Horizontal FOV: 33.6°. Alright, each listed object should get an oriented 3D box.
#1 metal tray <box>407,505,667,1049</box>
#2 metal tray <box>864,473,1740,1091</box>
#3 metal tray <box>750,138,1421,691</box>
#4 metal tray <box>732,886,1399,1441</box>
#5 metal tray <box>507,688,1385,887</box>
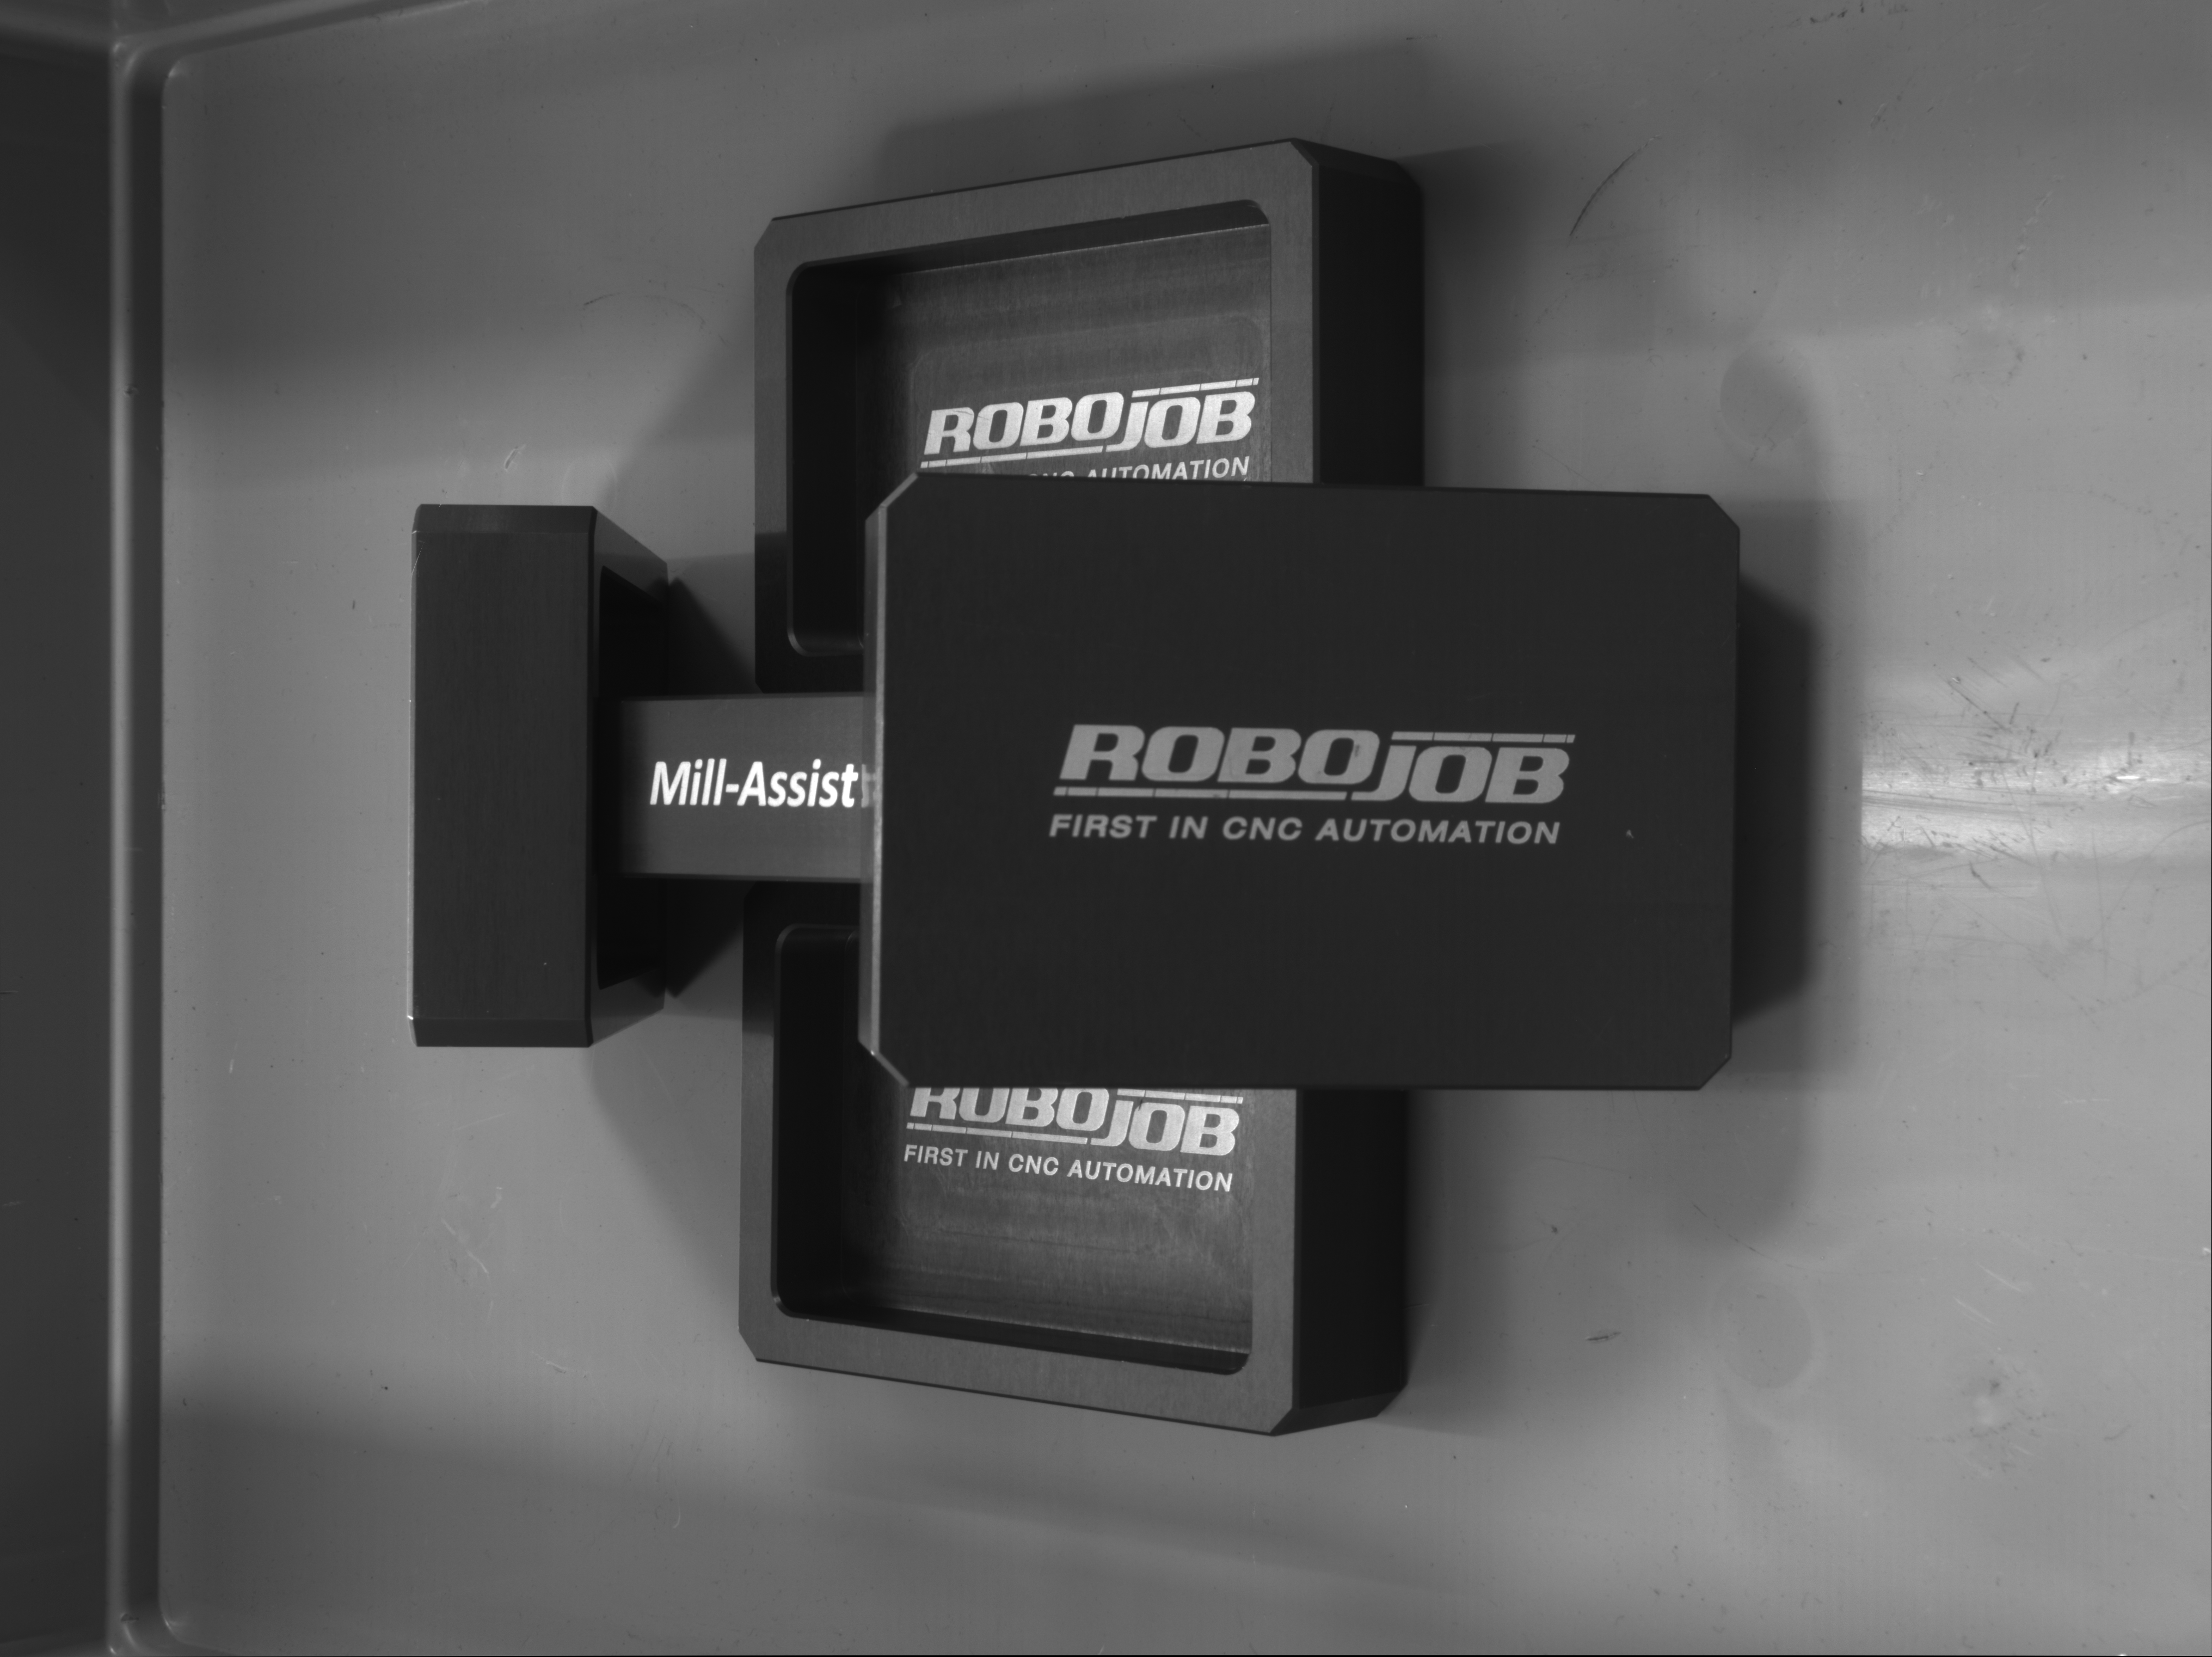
[{"bbox_3d":[-0.101,-0.008,0.669,0.030,0.130,0.090,0,90,-1],"label":"metal tray"},{"bbox_3d":[0.029,-0.006,0.559,0.030,0.130,0.090,-178,89,-82],"label":"metal tray"},{"bbox_3d":[-0.006,-0.067,0.645,0.129,0.030,0.090,0,90,39],"label":"metal tray"},{"bbox_3d":[-0.010,0.054,0.646,0.129,0.030,0.090,0,90,39],"label":"metal tray"},{"bbox_3d":[-0.029,-0.006,0.625,0.129,0.090,0.030,0,90,39],"label":"metal tray"}]
